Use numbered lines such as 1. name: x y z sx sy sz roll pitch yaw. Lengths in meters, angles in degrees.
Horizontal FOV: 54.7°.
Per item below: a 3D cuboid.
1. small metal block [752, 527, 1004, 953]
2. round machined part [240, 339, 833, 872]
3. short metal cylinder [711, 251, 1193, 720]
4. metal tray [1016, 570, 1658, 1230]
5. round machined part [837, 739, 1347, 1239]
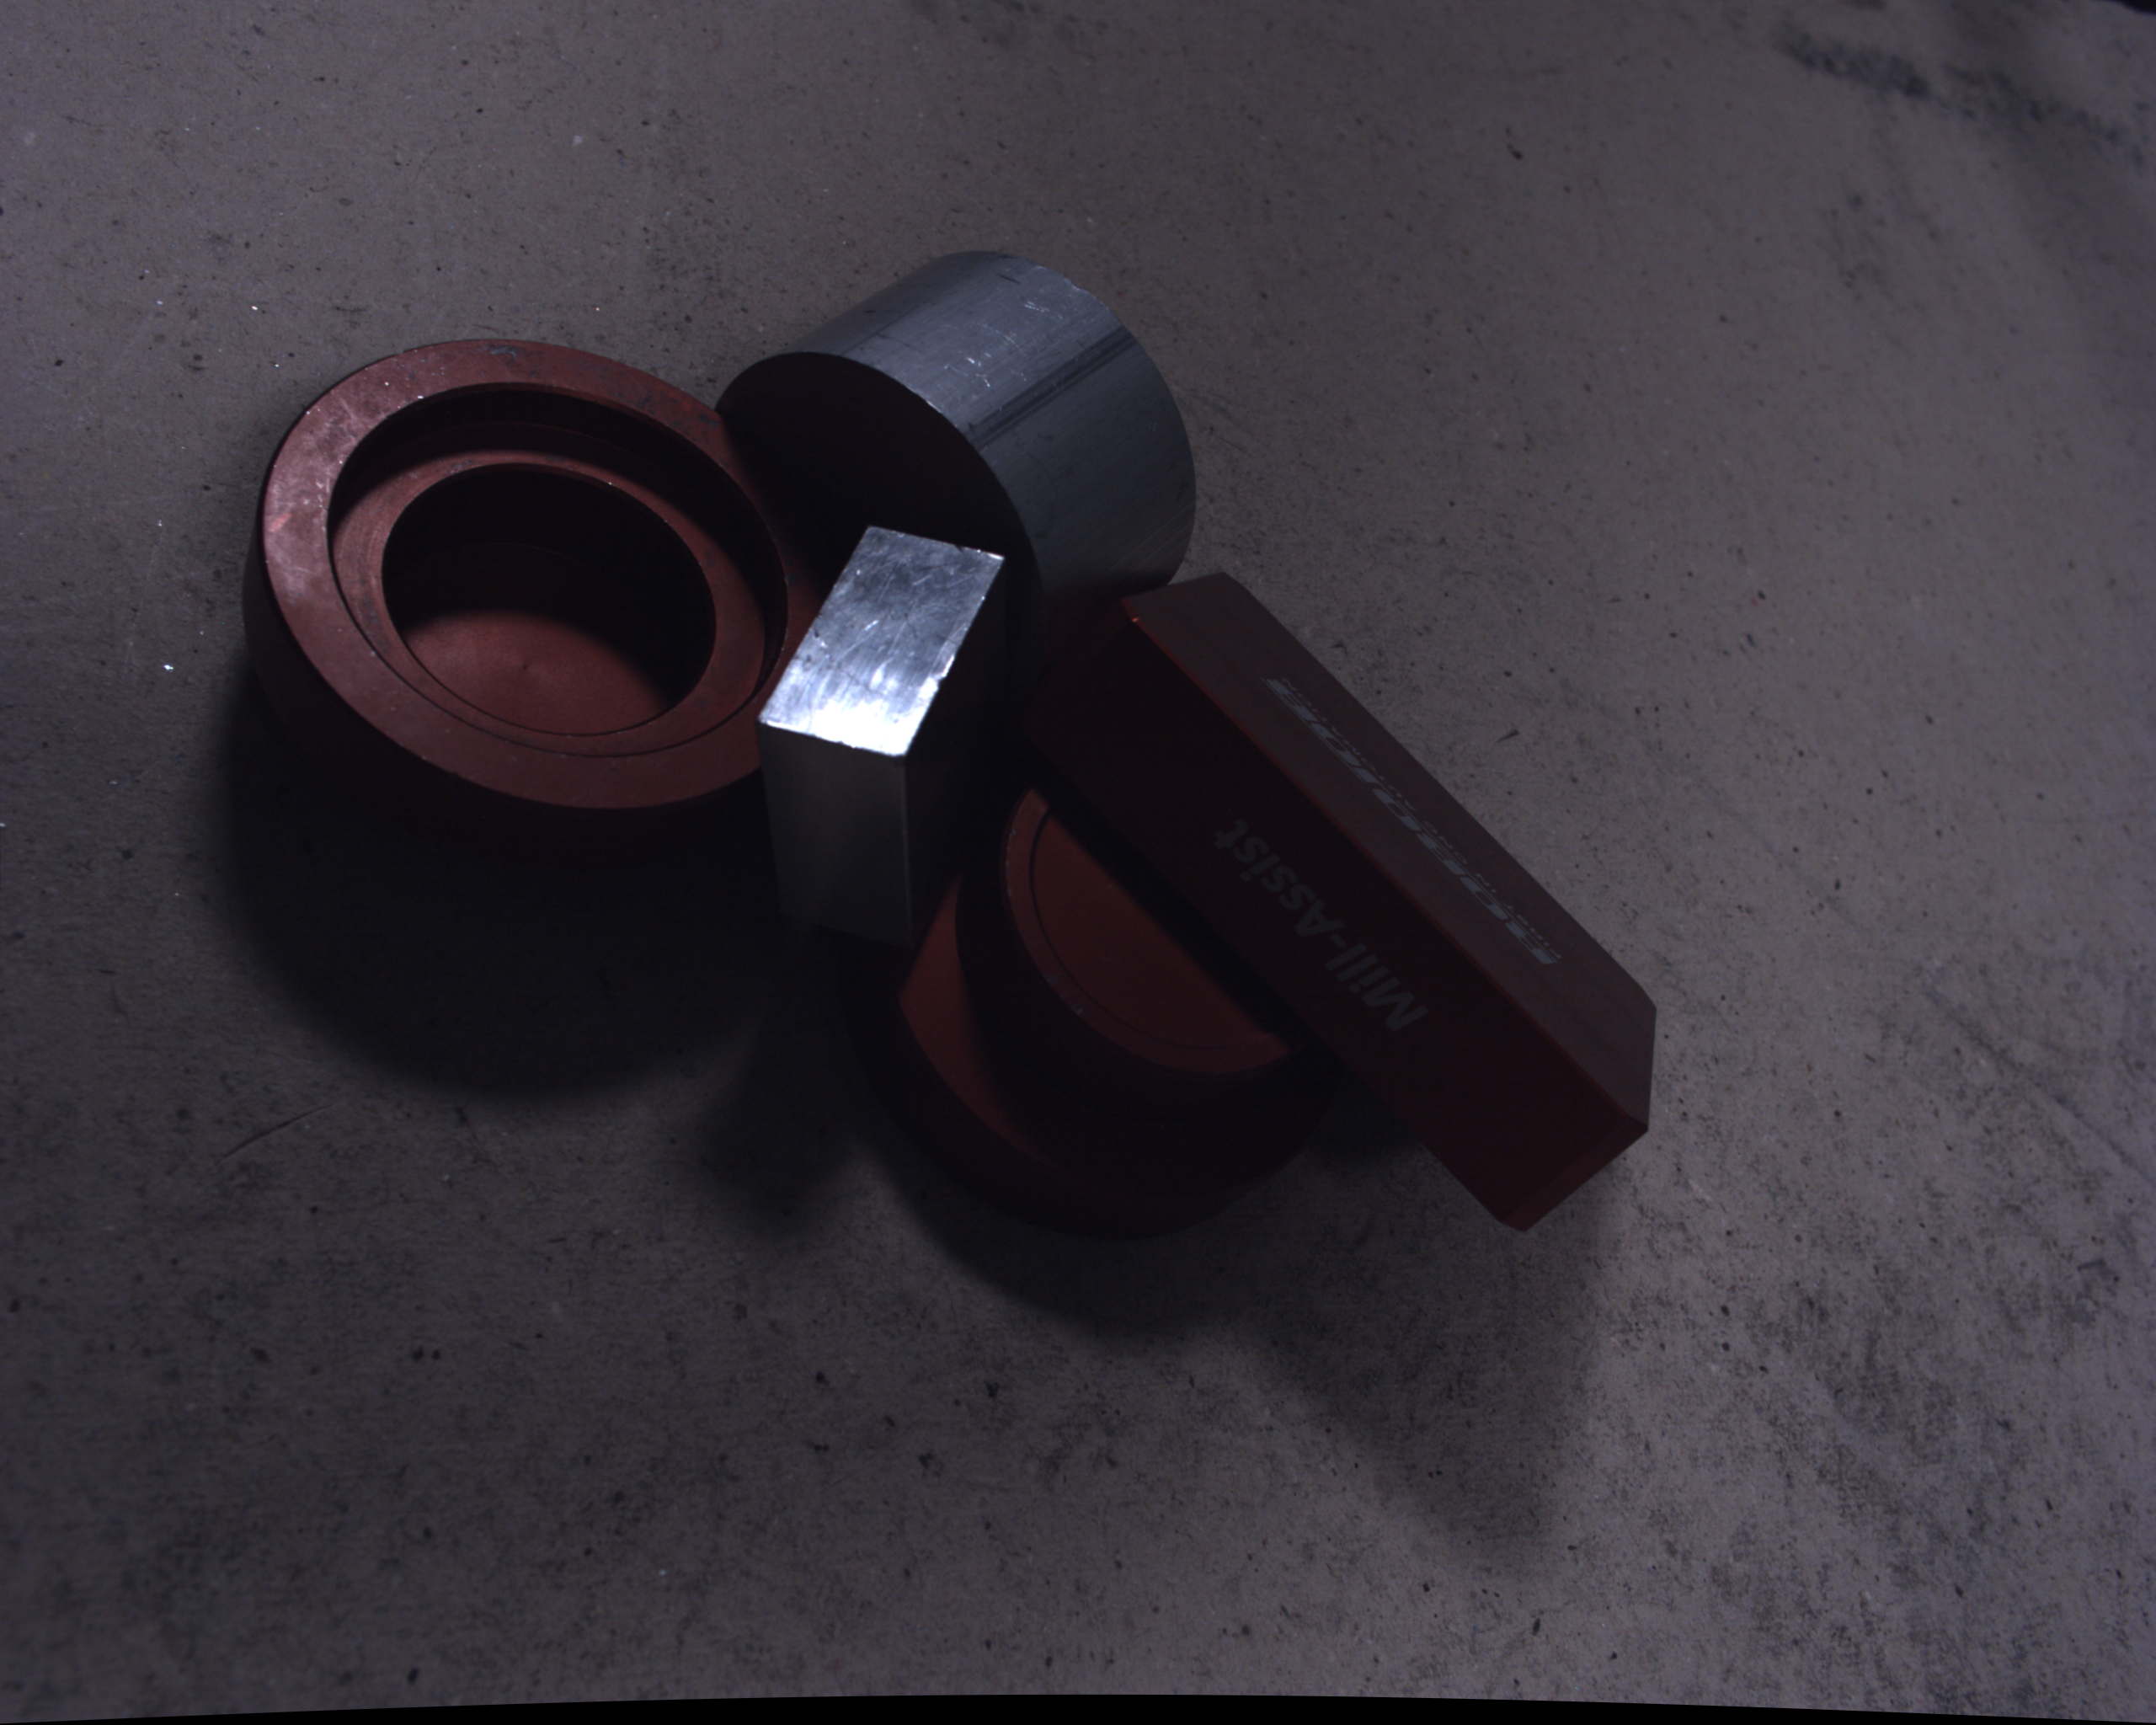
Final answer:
1. small metal block: -0.033 -0.021 0.363 0.025 0.050 0.050 15 52 9
2. round machined part: -0.095 -0.041 0.369 0.099 0.042 0.098 14 56 -21
3. short metal cylinder: -0.025 -0.070 0.401 0.080 0.080 0.050 44 51 2
4. metal tray: 0.055 0.001 0.404 0.130 0.030 0.090 46 19 3
5. round machined part: 0.008 0.017 0.390 0.099 0.042 0.098 14 56 -21
